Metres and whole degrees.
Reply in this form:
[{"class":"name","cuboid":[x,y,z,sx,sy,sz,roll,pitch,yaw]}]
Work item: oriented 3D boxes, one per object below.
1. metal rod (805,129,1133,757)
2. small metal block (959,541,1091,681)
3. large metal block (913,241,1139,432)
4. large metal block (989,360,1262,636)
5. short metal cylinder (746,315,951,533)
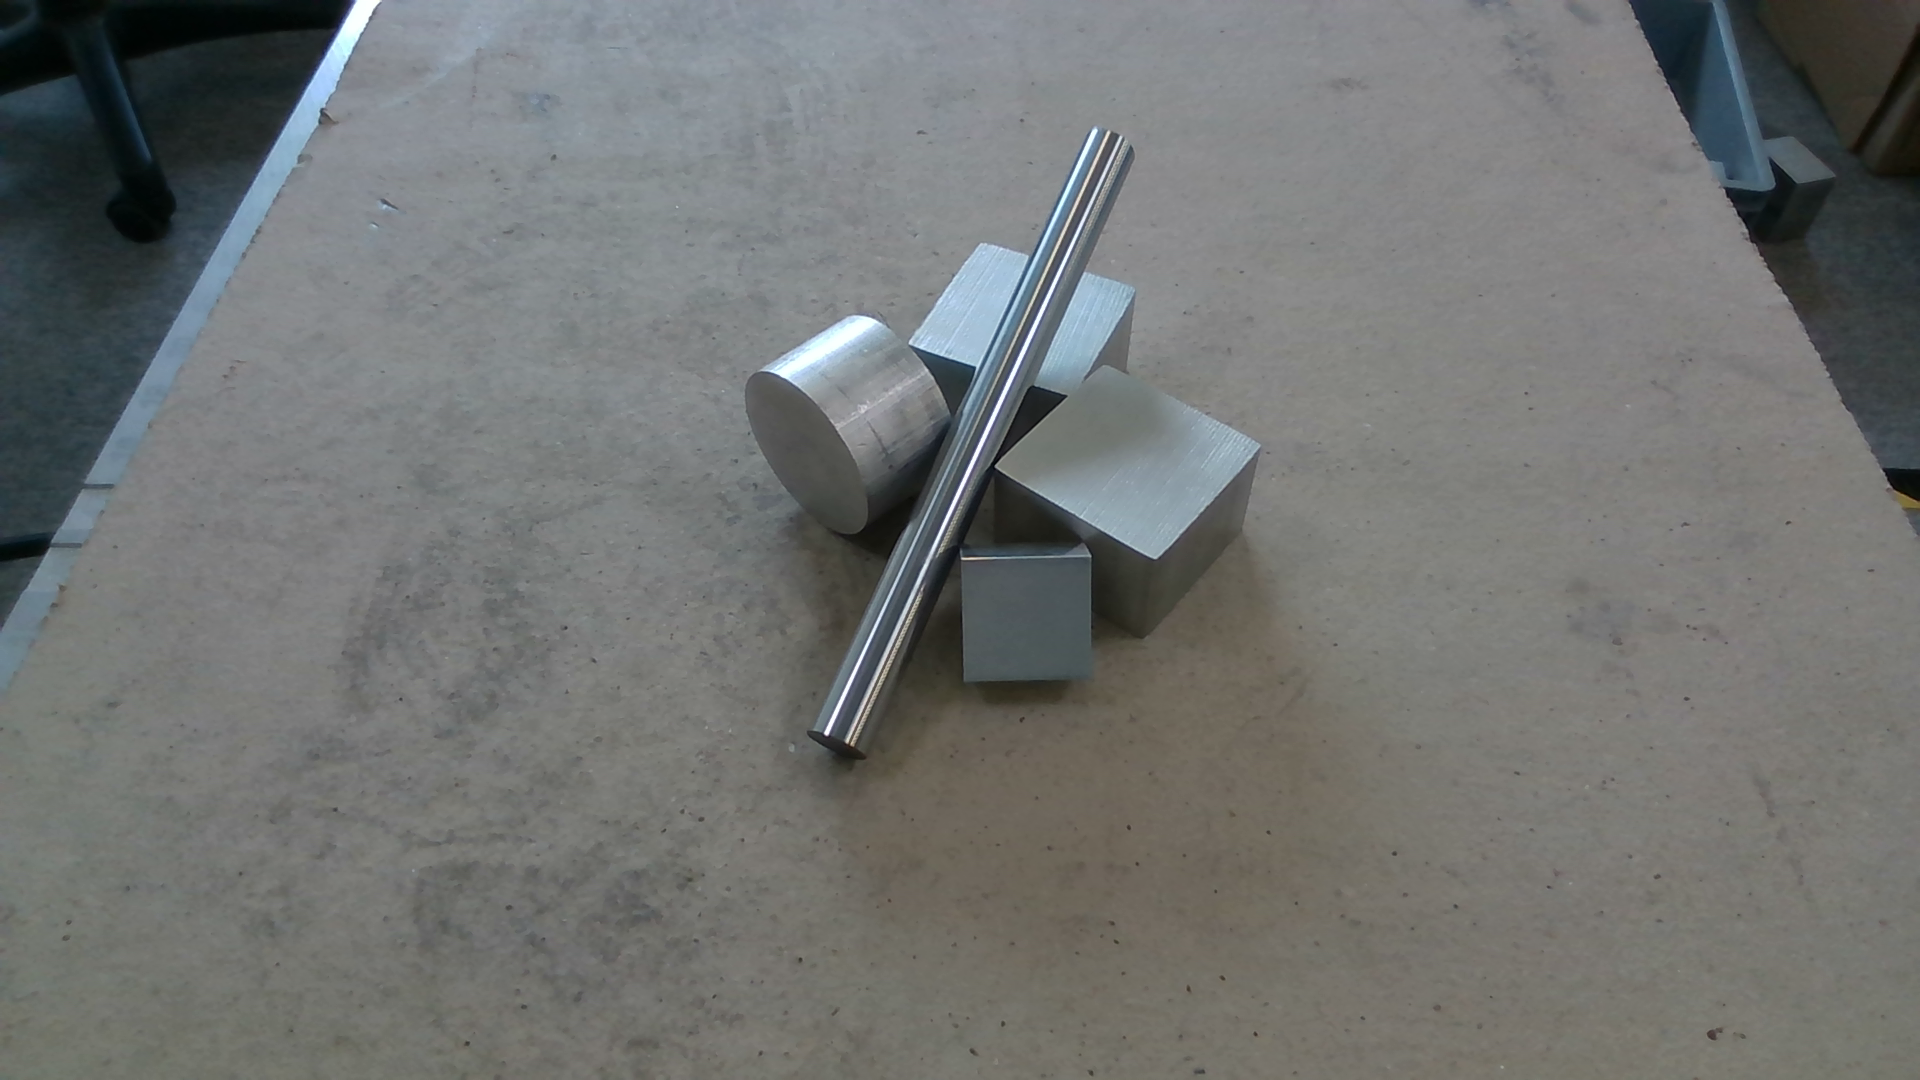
[{"class":"metal rod","cuboid":[0.010,-0.050,0.576,0.025,0.025,0.299,19,69,15]},{"class":"small metal block","cuboid":[0.025,0.027,0.546,0.050,0.050,0.025,-2,14,-1]},{"class":"large metal block","cuboid":[0.030,-0.086,0.643,0.080,0.050,0.080,20,53,16]},{"class":"large metal block","cuboid":[0.069,-0.020,0.585,0.080,0.050,0.080,32,57,24]},{"class":"short metal cylinder","cuboid":[-0.048,-0.050,0.593,0.050,0.080,0.080,-37,59,-26]}]
